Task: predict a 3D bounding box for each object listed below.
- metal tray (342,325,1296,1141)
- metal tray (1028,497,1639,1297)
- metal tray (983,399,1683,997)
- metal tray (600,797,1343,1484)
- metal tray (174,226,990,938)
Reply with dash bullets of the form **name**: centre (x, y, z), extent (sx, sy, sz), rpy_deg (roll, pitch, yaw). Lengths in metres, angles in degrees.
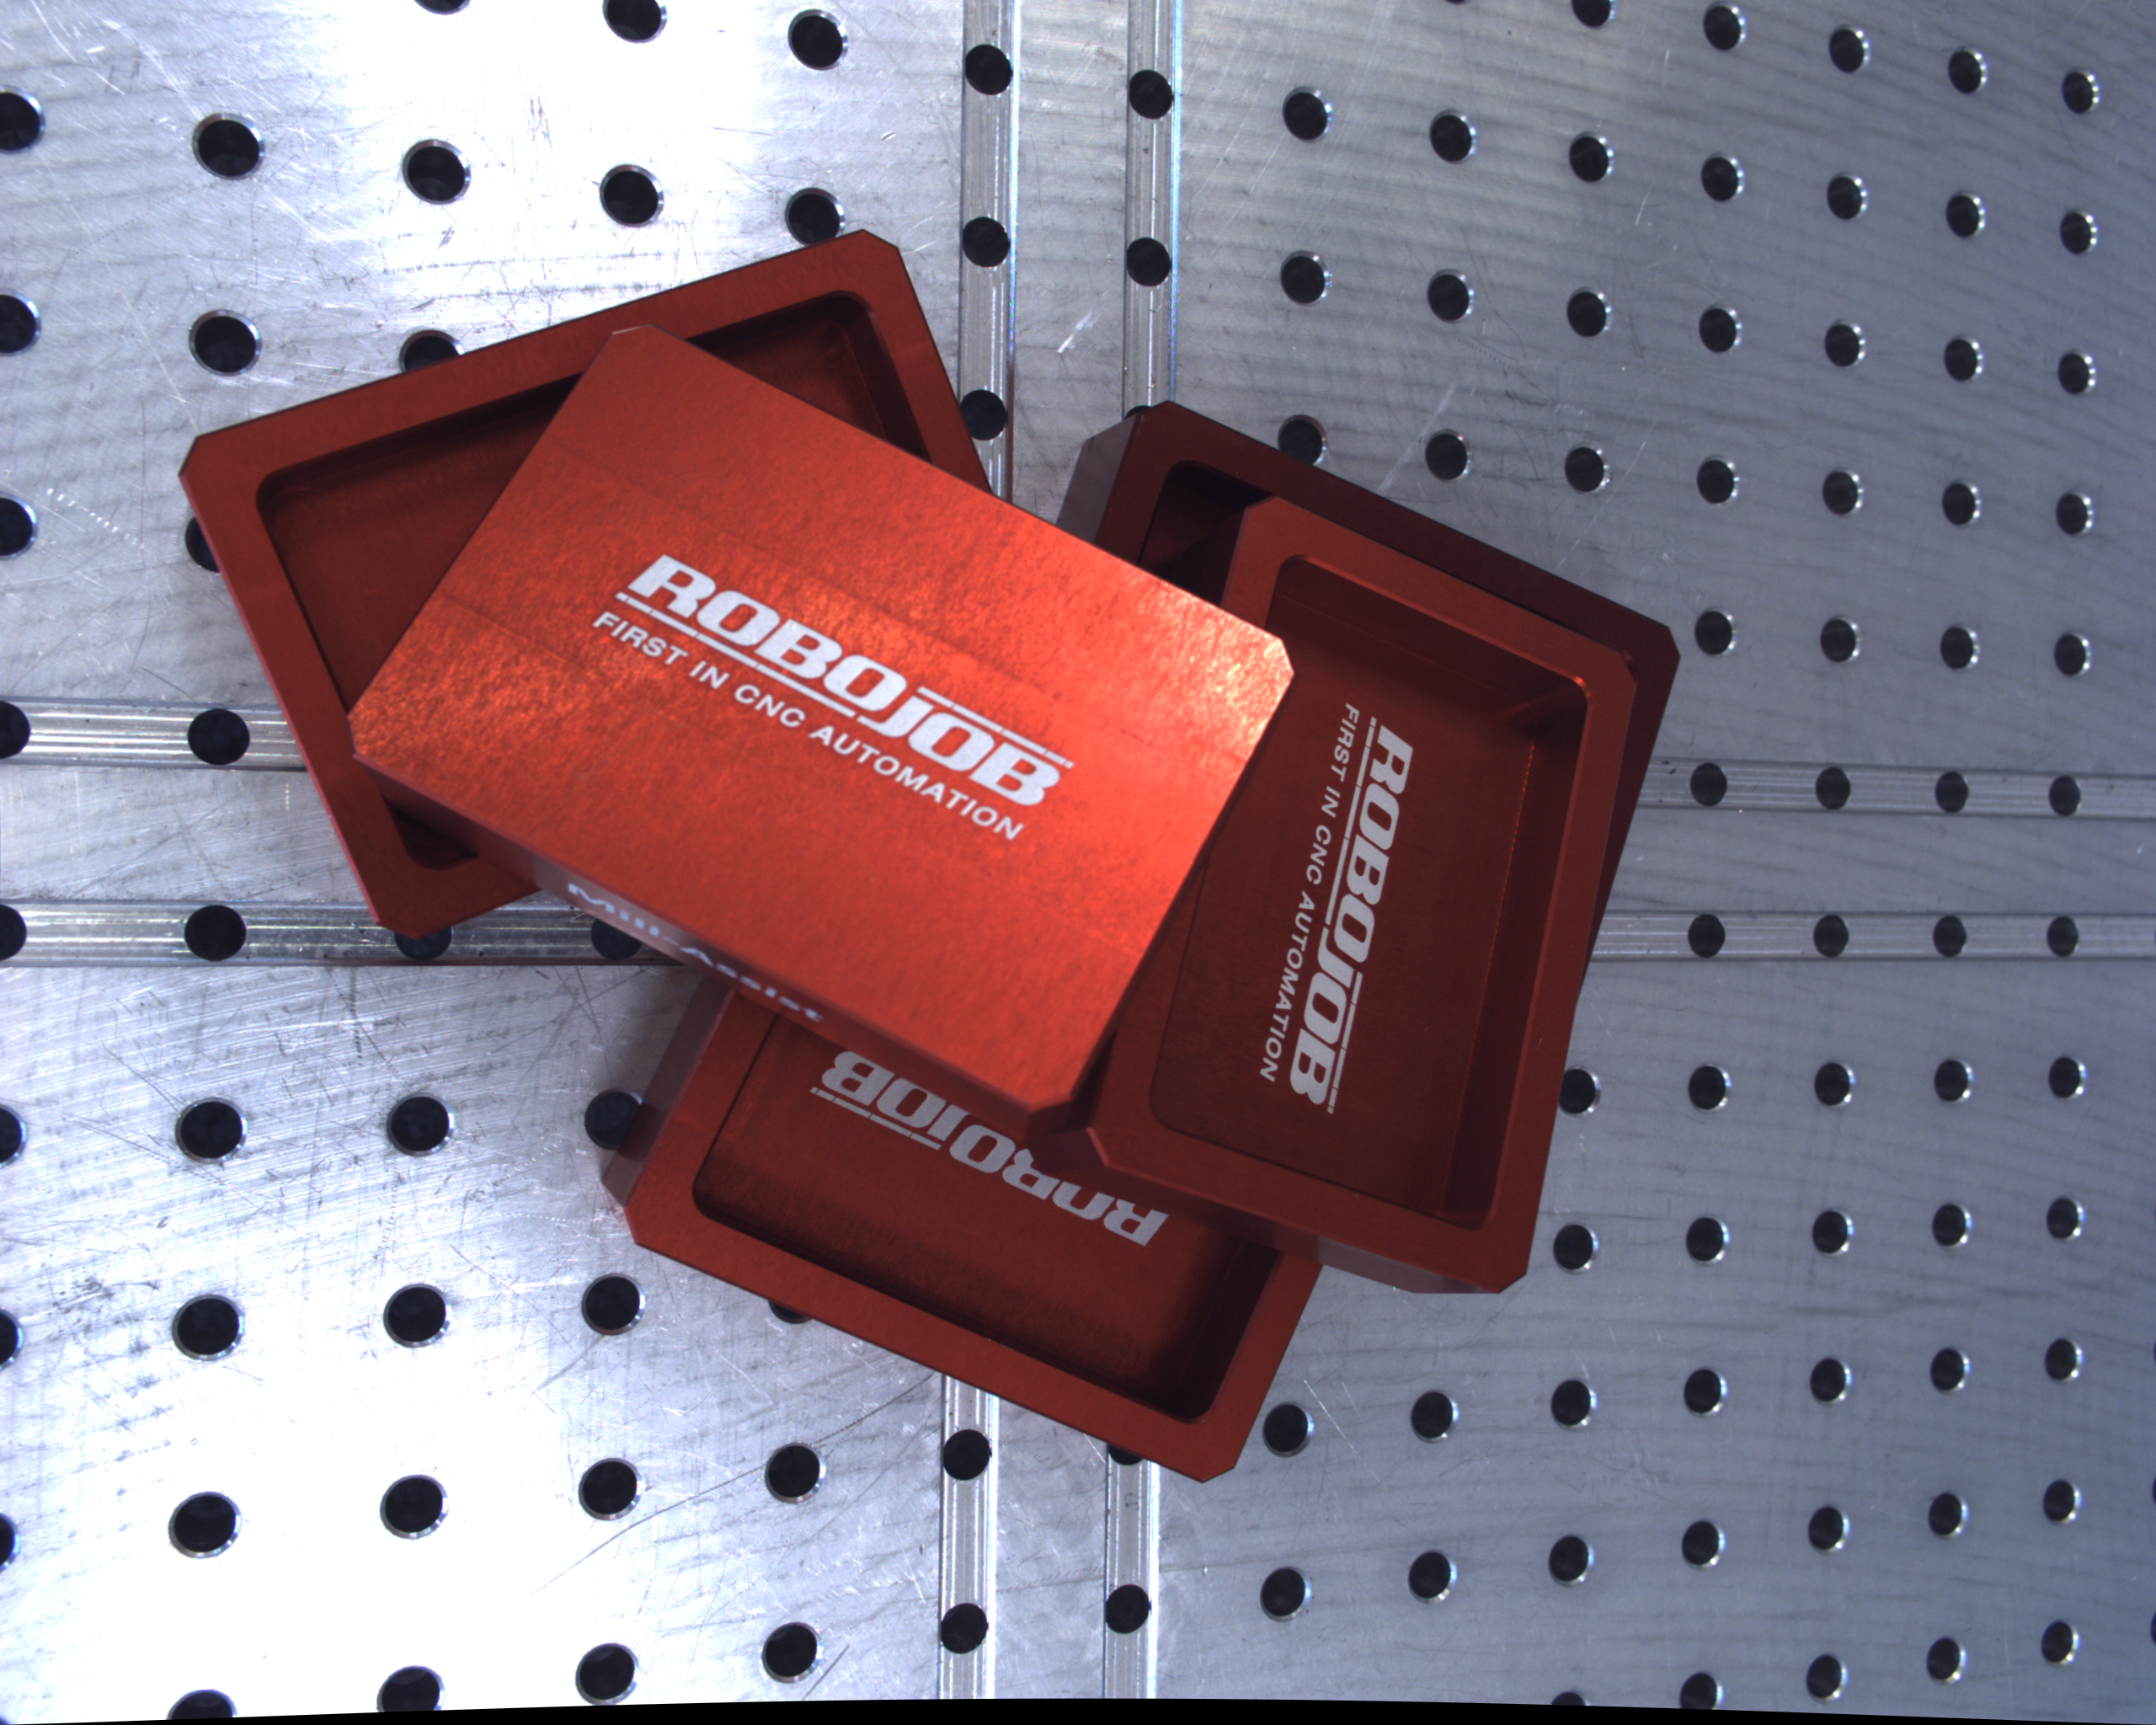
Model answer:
- **metal tray**: centre (-0.041, -0.023, 0.351), extent (0.130, 0.030, 0.090), rpy_deg (27, 72, 4)
- **metal tray**: centre (0.051, 0.008, 0.395), extent (0.090, 0.030, 0.130), rpy_deg (21, 71, -19)
- **metal tray**: centre (0.052, -0.027, 0.428), extent (0.131, 0.030, 0.090), rpy_deg (20, 83, -18)
- **metal tray**: centre (-0.013, 0.054, 0.405), extent (0.131, 0.030, 0.090), rpy_deg (28, 81, -18)
- **metal tray**: centre (-0.081, -0.052, 0.380), extent (0.131, 0.030, 0.090), rpy_deg (-24, 98, -18)
